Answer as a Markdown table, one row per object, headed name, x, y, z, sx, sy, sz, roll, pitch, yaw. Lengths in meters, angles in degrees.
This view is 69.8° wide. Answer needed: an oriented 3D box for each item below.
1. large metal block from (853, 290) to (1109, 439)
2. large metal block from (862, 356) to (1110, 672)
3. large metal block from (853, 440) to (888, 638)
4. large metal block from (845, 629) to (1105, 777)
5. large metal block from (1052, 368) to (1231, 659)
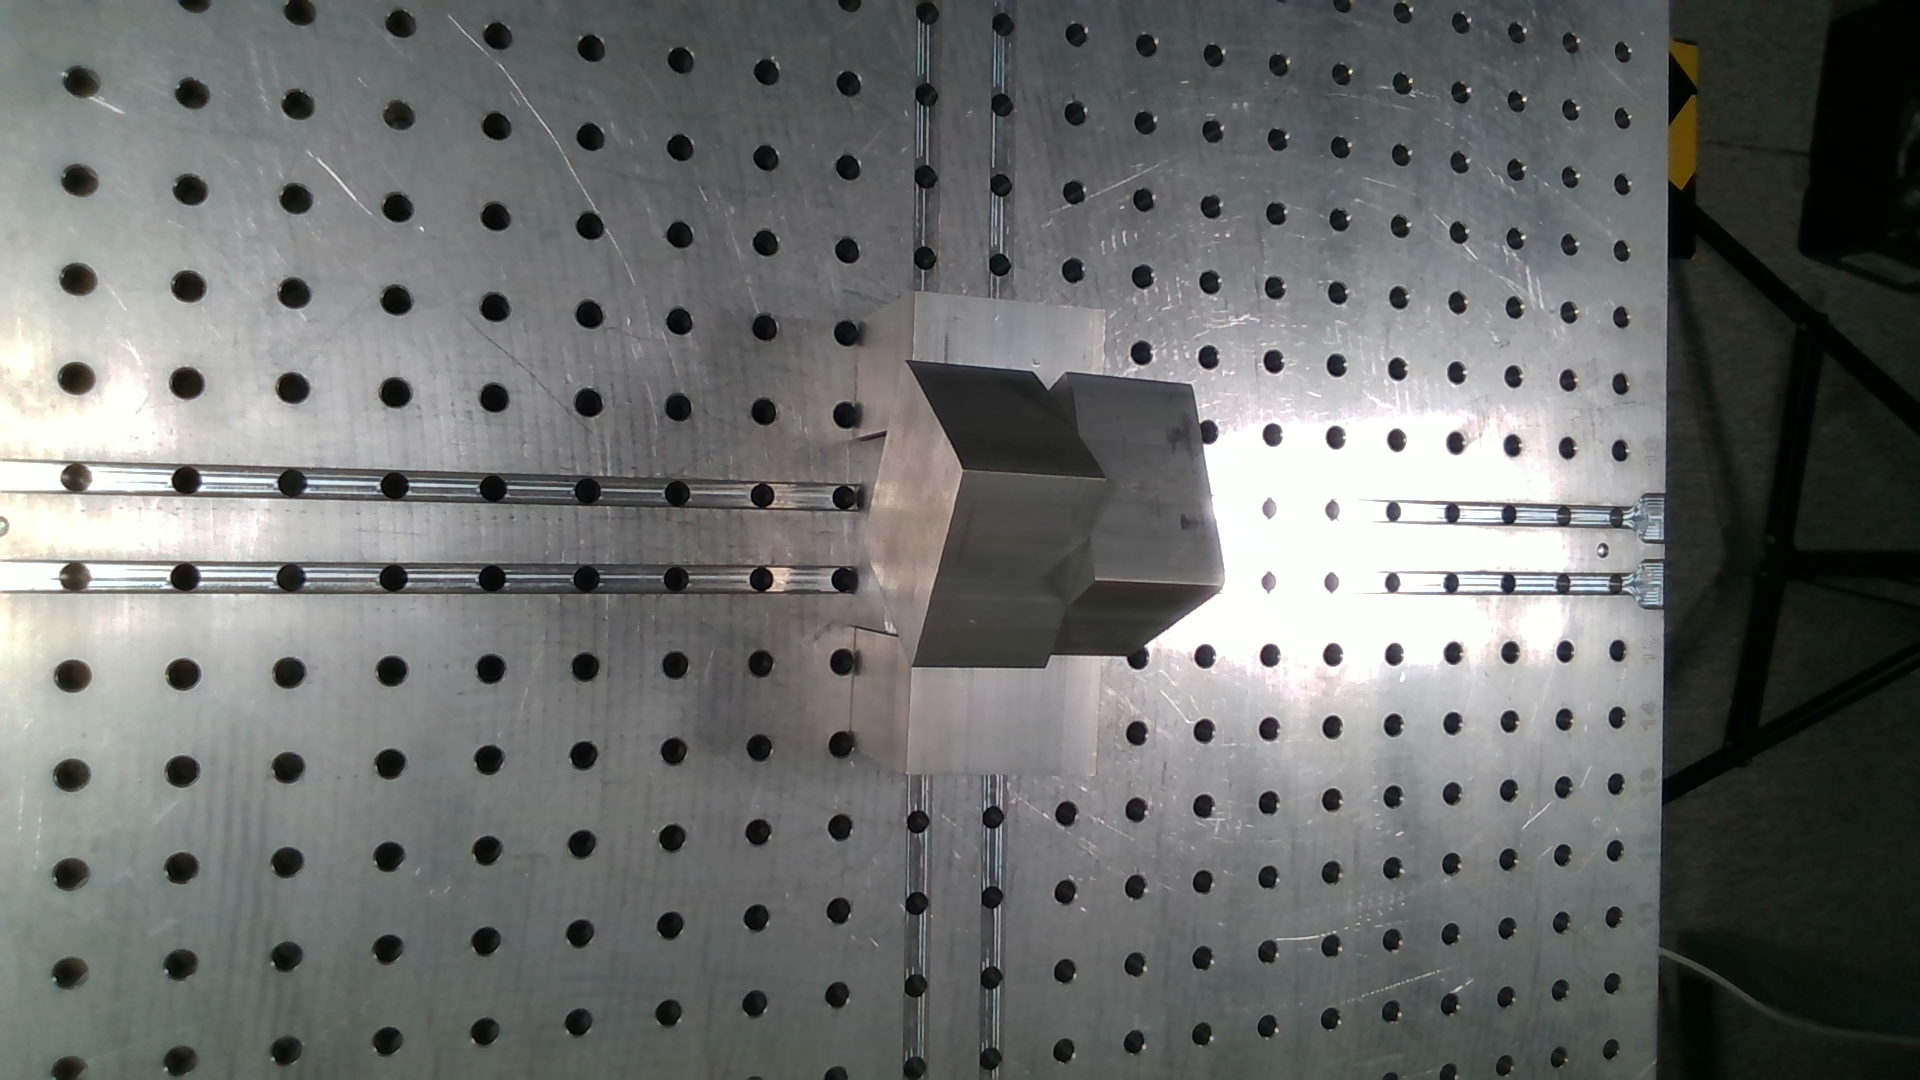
| name | x | y | z | sx | sy | sz | roll | pitch | yaw |
| --- | --- | --- | --- | --- | --- | --- | --- | --- | --- |
| large metal block | 0.006 | -0.066 | 0.561 | 0.080 | 0.080 | 0.050 | 2 | 89 | -20 |
| large metal block | 0.005 | -0.010 | 0.490 | 0.050 | 0.080 | 0.080 | 3 | 122 | -21 |
| large metal block | 0.002 | 0.000 | 0.574 | 0.080 | 0.050 | 0.080 | 3 | 89 | -20 |
| large metal block | 0.004 | 0.065 | 0.561 | 0.080 | 0.080 | 0.050 | 4 | 89 | -20 |
| large metal block | 0.052 | -0.007 | 0.510 | 0.050 | 0.080 | 0.080 | 3 | 67 | -21 |
